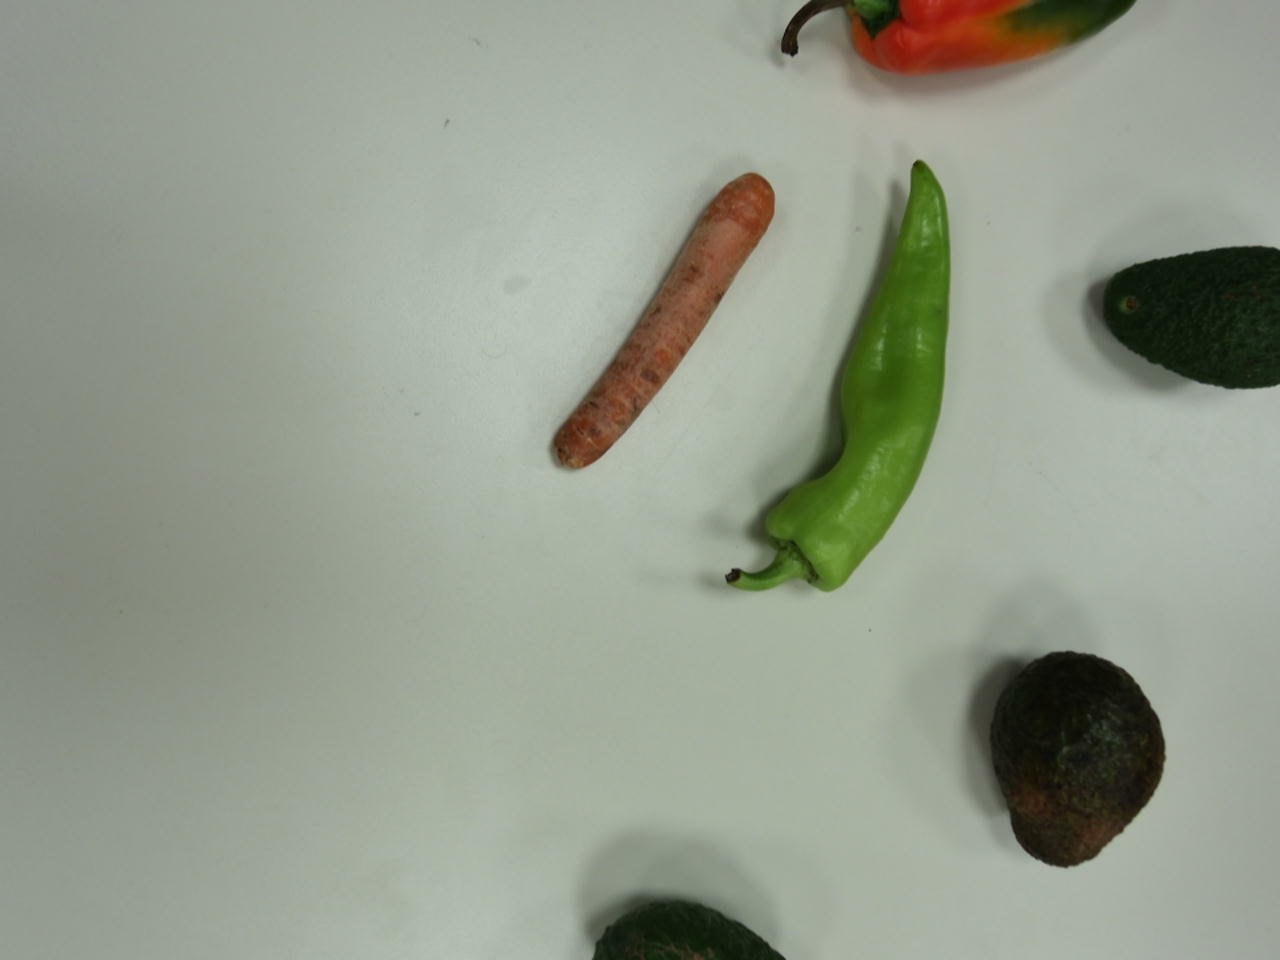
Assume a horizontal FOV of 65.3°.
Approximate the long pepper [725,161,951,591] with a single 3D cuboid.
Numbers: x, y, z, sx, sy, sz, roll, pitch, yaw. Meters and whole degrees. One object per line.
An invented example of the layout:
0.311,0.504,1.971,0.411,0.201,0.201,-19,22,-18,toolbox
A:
0.104,-0.034,0.438,0.065,0.045,0.204,27,85,-11,long pepper
